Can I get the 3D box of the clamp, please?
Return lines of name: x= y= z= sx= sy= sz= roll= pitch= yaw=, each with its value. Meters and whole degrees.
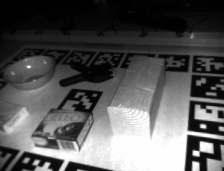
clamp: x=-0.091 y=-0.041 z=0.683 sx=0.164 sy=0.037 sz=0.121 roll=-1 pitch=39 yaw=8

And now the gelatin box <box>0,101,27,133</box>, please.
gelatin box: x=-0.283 y=0.078 z=0.564 sx=0.088 sy=0.030 sz=0.073 roll=10 pitch=44 yaw=23

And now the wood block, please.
wood block: x=0.069 y=0.016 z=0.522 sx=0.089 sy=0.091 sz=0.206 roll=7 pitch=42 yaw=19

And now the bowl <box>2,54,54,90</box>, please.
bowl: x=-0.257 y=-0.035 z=0.692 sx=0.161 sy=0.055 sz=0.161 roll=-5 pitch=42 yaw=5

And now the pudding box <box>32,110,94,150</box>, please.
pudding box: x=-0.111 y=0.097 z=0.500 sx=0.113 sy=0.039 sz=0.090 roll=3 pitch=44 yaw=18
